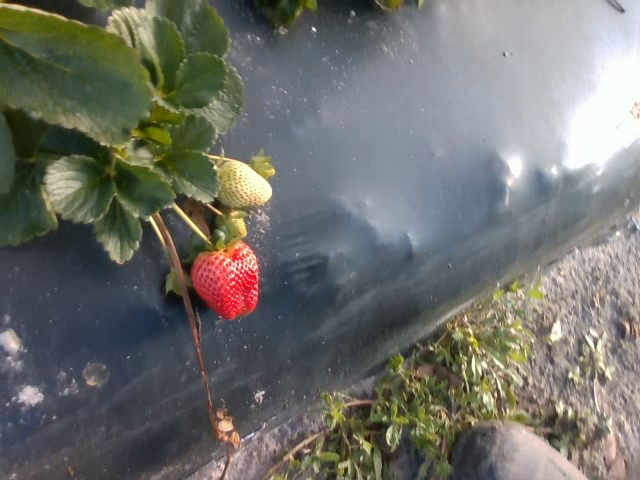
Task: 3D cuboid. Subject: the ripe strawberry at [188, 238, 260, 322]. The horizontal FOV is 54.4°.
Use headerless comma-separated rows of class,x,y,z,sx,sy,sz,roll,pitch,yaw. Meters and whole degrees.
ripe strawberry,-0.053,0.027,0.387,0.047,0.050,0.034,-21,13,-28
